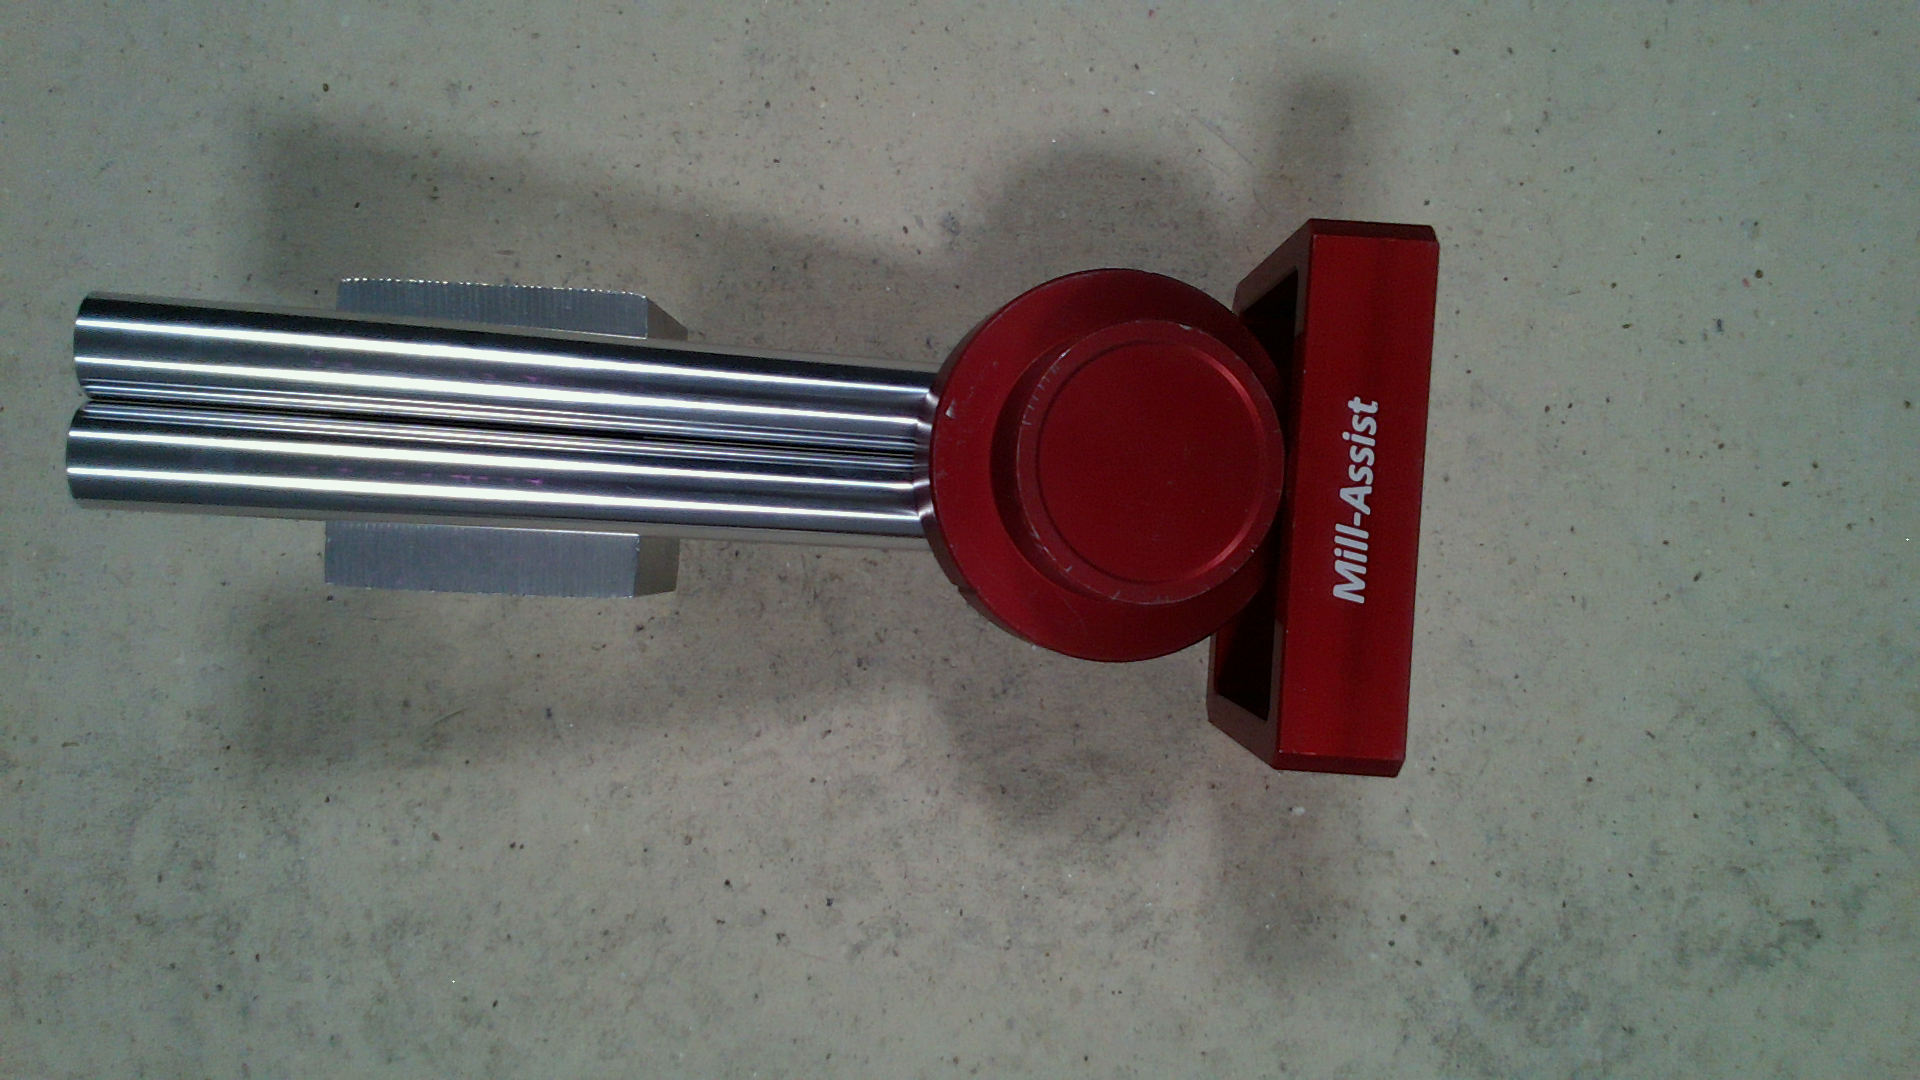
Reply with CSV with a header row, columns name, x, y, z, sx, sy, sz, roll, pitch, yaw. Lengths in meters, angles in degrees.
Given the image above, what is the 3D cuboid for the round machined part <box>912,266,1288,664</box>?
name,x,y,z,sx,sy,sz,roll,pitch,yaw
round machined part,0.040,-0.018,0.338,0.098,0.042,0.098,0,92,-11

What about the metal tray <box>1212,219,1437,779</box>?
name,x,y,z,sx,sy,sz,roll,pitch,yaw
metal tray,0.092,-0.010,0.363,0.030,0.090,0.130,3,90,0

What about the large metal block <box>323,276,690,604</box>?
name,x,y,z,sx,sy,sz,roll,pitch,yaw
large metal block,-0.122,-0.026,0.379,0.080,0.050,0.080,3,90,0

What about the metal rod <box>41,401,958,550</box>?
name,x,y,z,sx,sy,sz,roll,pitch,yaw
metal rod,-0.060,-0.012,0.350,0.301,0.025,0.025,3,90,-13

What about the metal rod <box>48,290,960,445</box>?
name,x,y,z,sx,sy,sz,roll,pitch,yaw
metal rod,-0.058,-0.039,0.350,0.301,0.025,0.025,2,90,-13
